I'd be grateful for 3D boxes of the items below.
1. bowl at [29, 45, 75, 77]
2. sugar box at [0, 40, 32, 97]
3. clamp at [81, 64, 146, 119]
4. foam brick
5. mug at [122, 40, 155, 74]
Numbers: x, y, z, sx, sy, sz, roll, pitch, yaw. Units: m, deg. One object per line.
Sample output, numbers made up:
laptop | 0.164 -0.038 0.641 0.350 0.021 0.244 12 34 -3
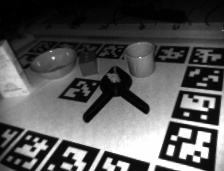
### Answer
bowl | -0.199 -0.080 0.753 0.161 0.055 0.161 -7 41 7
sugar box | -0.329 -0.045 0.657 0.093 0.178 0.045 -10 42 4
clamp | 0.002 0.000 0.607 0.165 0.037 0.201 -10 41 8
foam brick | -0.081 -0.079 0.730 0.052 0.052 0.077 -12 41 5
mug | 0.076 -0.095 0.665 0.094 0.082 0.115 -37 48 -24
